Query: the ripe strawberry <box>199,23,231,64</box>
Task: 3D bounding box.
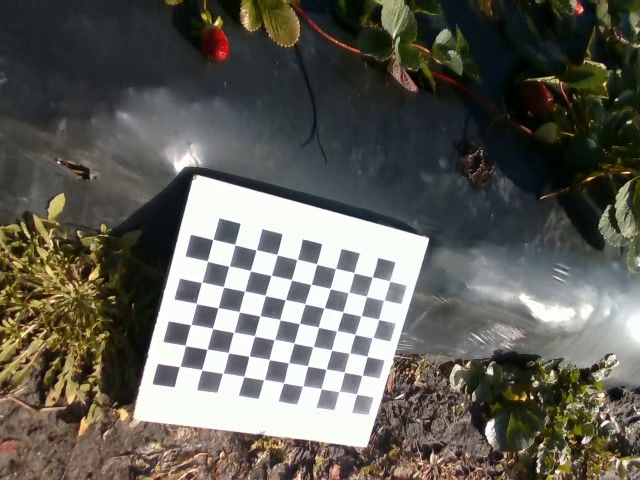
[{"bbox_3d":[-0.089,-0.167,0.505,0.028,0.031,0.041,-12,46,-15],"label":"ripe strawberry"}]
